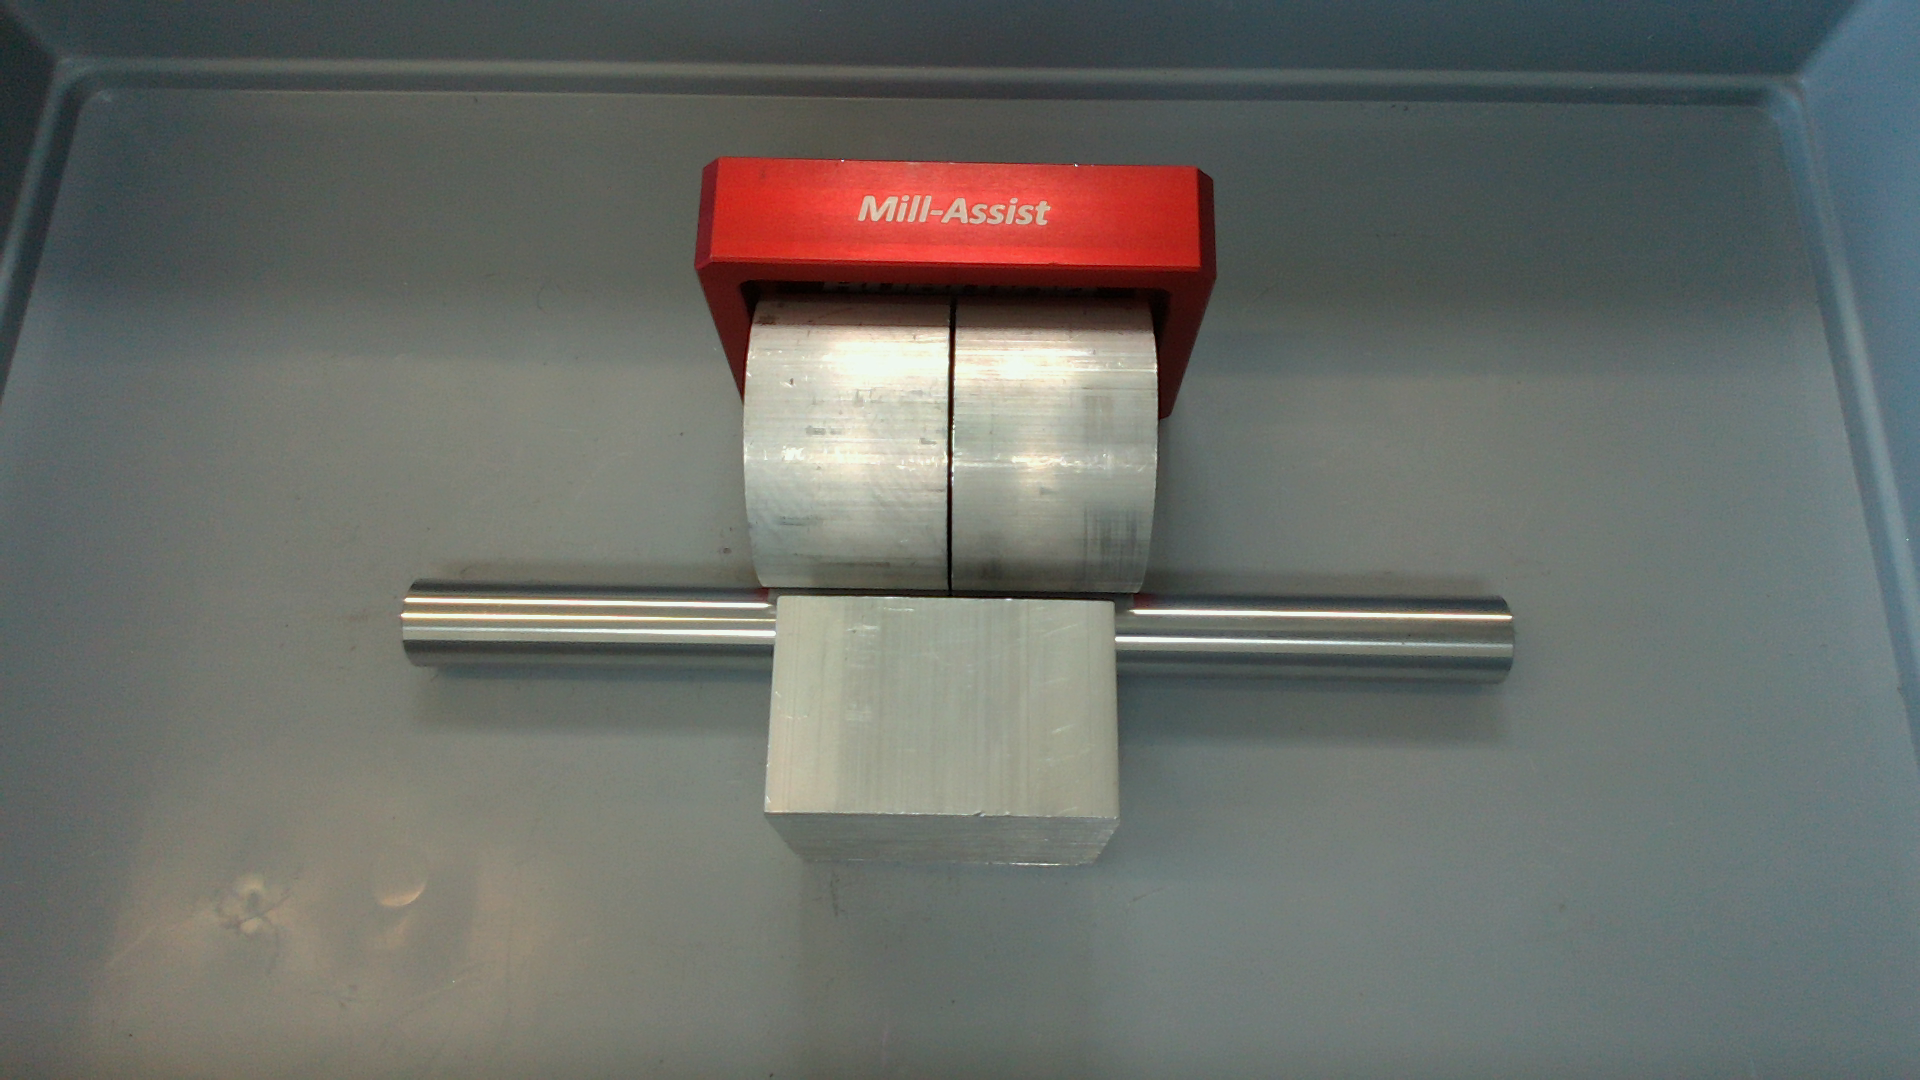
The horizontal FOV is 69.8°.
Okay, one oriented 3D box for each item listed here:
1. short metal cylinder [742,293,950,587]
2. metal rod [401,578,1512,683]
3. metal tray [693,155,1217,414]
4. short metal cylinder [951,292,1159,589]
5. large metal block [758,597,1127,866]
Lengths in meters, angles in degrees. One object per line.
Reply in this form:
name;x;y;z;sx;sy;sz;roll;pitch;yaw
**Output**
short metal cylinder;-0.028;-0.027;0.375;0.050;0.080;0.080;1;70;0
metal rod;-0.001;0.025;0.384;0.300;0.025;0.025;1;70;0
metal tray;-0.001;-0.067;0.383;0.130;0.090;0.030;1;70;0
short metal cylinder;0.024;-0.027;0.375;0.050;0.080;0.080;1;70;1
large metal block;-0.003;0.051;0.345;0.080;0.080;0.050;1;70;0
